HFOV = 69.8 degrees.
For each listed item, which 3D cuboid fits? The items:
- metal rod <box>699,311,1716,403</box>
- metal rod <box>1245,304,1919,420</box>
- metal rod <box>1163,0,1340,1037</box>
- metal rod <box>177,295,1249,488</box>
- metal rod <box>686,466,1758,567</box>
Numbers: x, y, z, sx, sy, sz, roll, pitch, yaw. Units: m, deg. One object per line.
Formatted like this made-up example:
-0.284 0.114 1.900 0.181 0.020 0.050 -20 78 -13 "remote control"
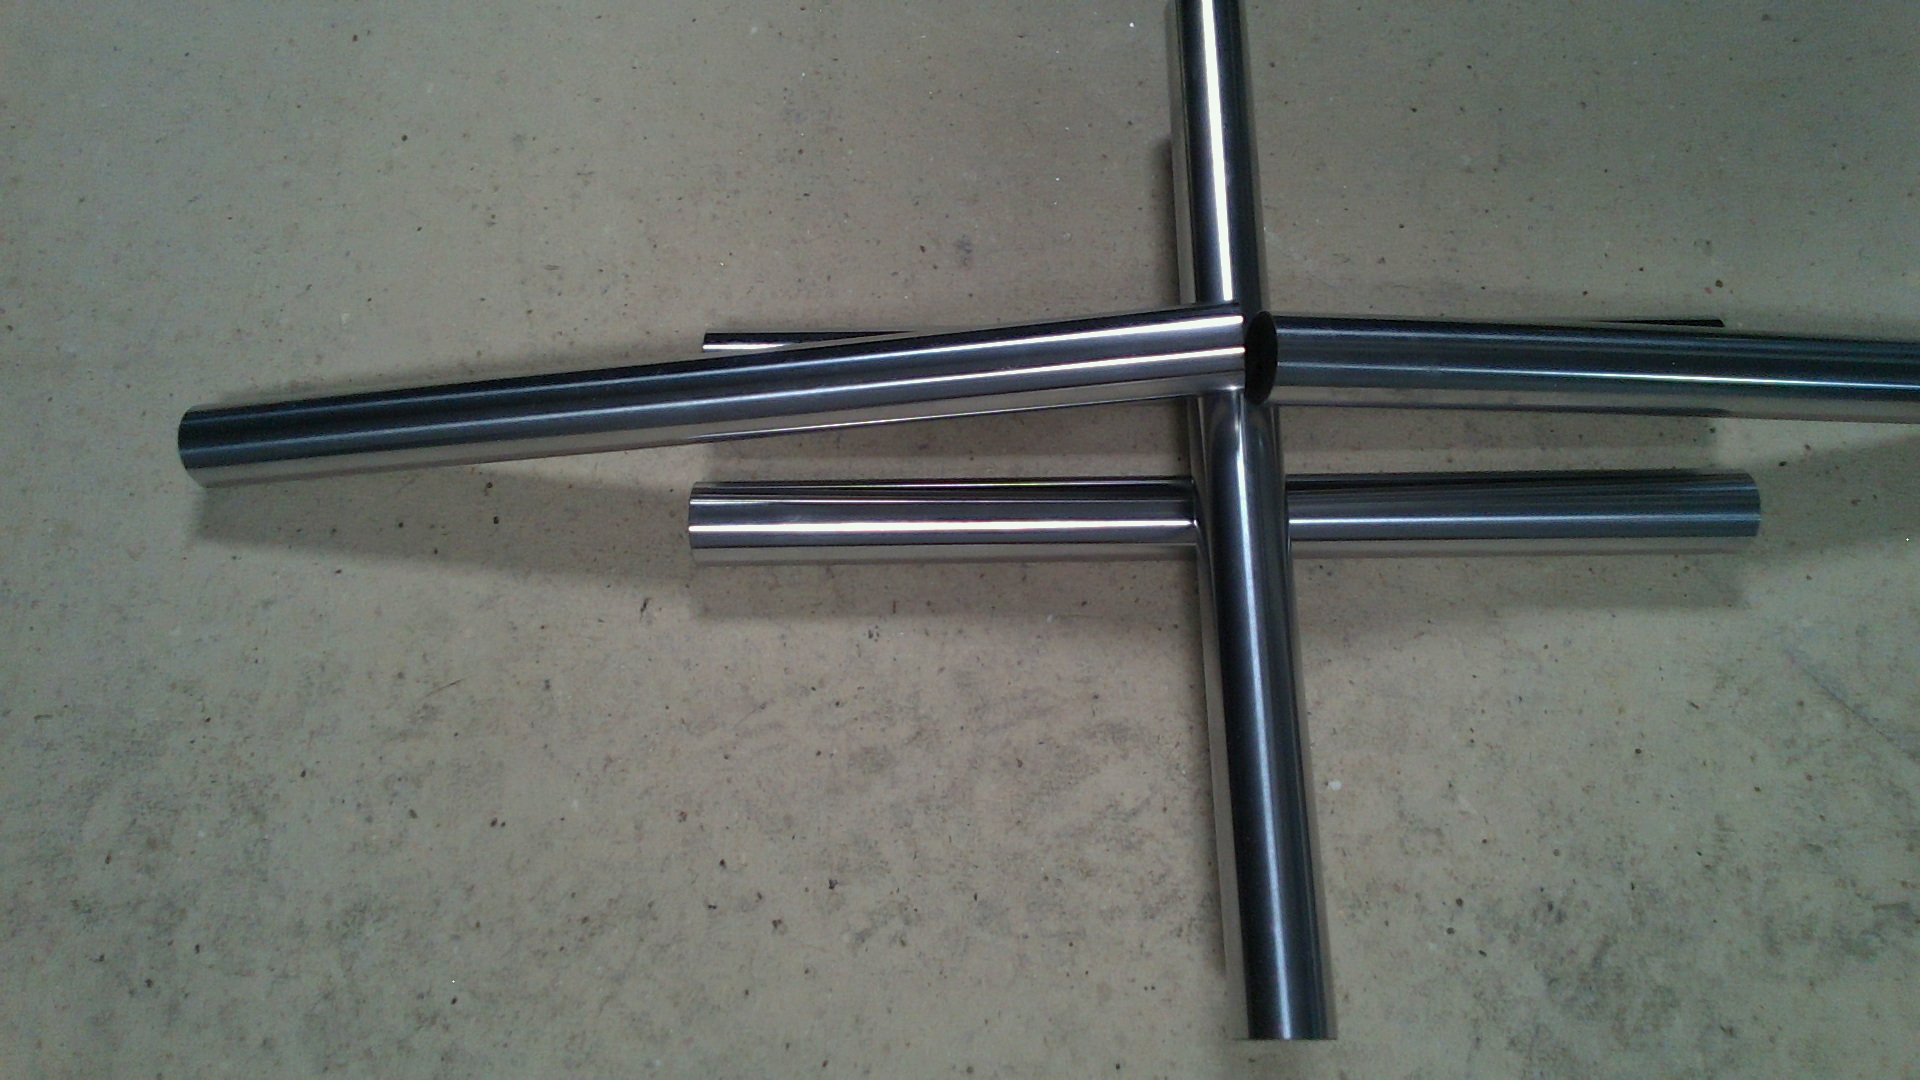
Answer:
0.074 -0.054 0.414 0.300 0.025 0.025 -1 70 0 "metal rod"
0.225 -0.047 0.386 0.300 0.025 0.025 1 70 -11 "metal rod"
0.076 -0.023 0.377 0.025 0.025 0.300 0 70 0 "metal rod"
-0.073 -0.040 0.382 0.300 0.025 0.025 -5 70 8 "metal rod"
0.074 -0.007 0.397 0.300 0.025 0.025 -1 70 0 "metal rod"
